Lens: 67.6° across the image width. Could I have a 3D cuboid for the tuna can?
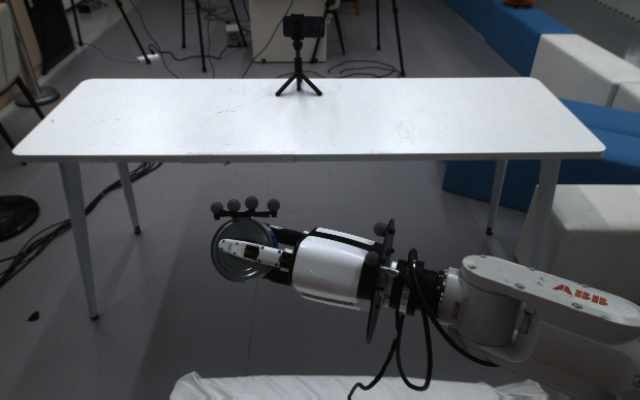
[{"bbox_3d":[-0.098,0.071,0.644,0.085,0.085,0.034,9,-6,10],"label":"tuna can"}]
